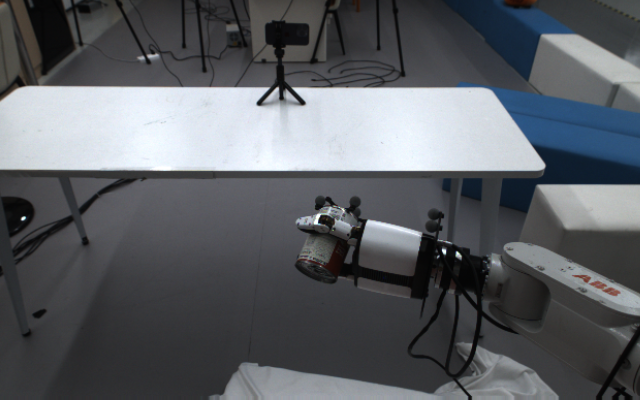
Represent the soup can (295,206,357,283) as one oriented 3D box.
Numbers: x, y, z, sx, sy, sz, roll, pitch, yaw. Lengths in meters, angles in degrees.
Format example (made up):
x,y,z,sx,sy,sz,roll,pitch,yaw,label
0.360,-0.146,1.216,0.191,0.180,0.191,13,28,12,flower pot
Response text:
x,y,z,sx,sy,sz,roll,pitch,yaw,label
0.013,0.067,0.737,0.067,0.067,0.101,15,63,18,soup can
